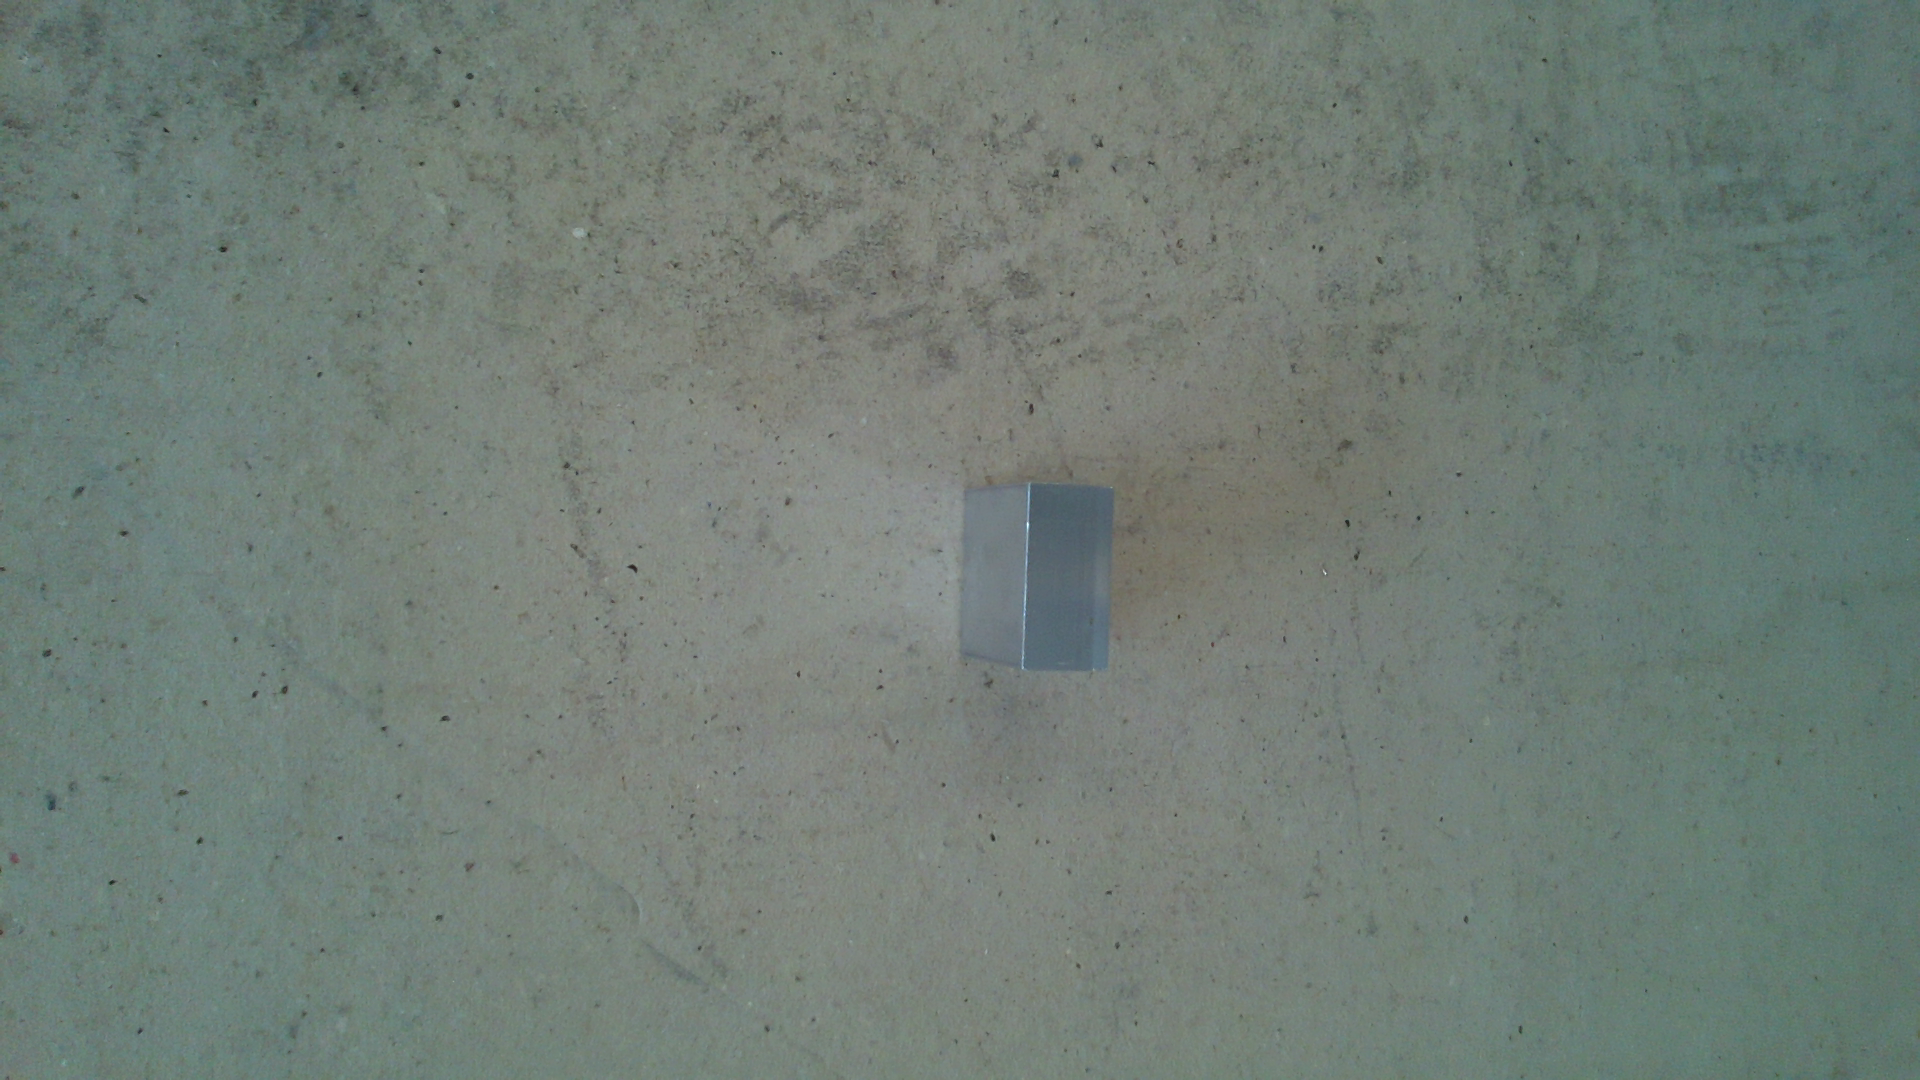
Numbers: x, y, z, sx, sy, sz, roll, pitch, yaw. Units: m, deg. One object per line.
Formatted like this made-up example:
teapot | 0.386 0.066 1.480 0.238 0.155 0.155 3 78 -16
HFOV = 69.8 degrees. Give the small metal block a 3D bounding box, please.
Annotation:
small metal block | 0.020 0.010 0.388 0.025 0.050 0.050 2 90 -21
